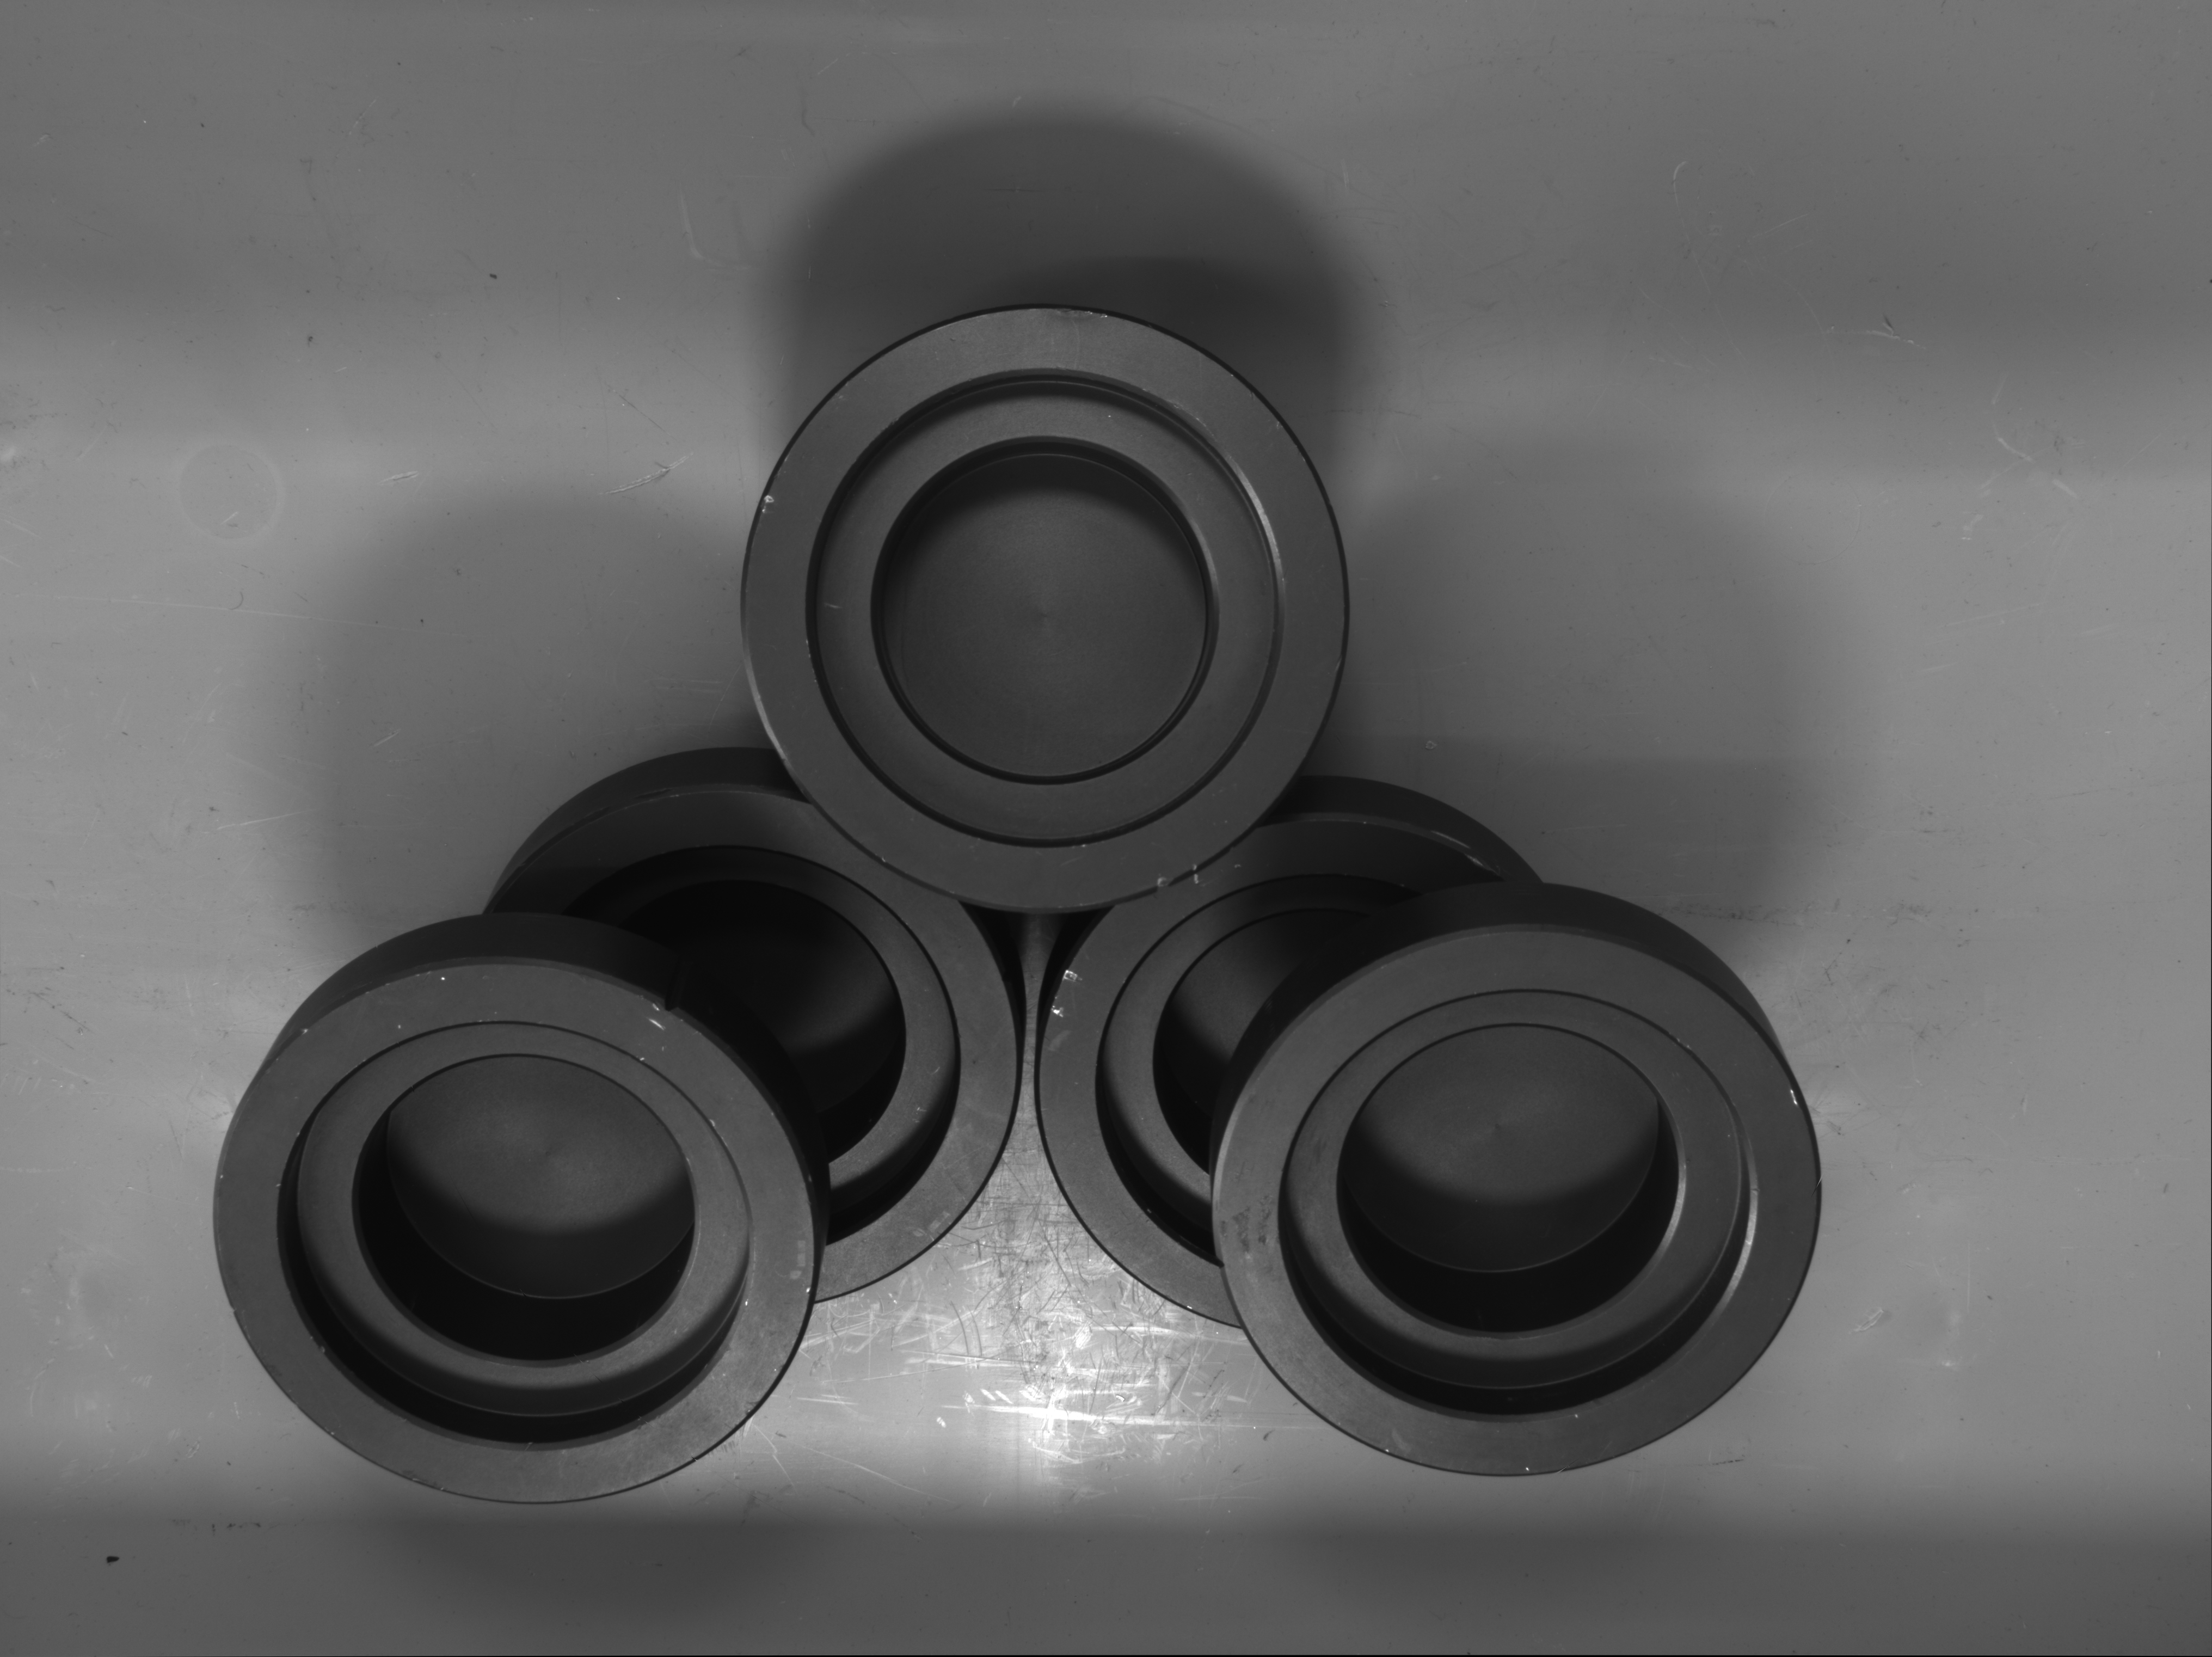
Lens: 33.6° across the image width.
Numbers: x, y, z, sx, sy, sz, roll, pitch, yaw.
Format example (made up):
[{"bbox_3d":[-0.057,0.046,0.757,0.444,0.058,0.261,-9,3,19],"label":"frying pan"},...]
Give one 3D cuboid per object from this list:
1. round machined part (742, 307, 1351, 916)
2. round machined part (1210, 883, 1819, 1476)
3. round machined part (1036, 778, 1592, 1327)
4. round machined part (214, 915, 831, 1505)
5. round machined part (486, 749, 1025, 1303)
[{"bbox_3d":[-0.010,-0.035,0.610,0.098,0.042,0.098,0,92,-1],"label":"round machined part"},{"bbox_3d":[0.066,0.054,0.609,0.098,0.042,0.098,0,110,0],"label":"round machined part"},{"bbox_3d":[0.037,0.037,0.647,0.098,0.042,0.098,0,110,0],"label":"round machined part"},{"bbox_3d":[-0.095,0.060,0.610,0.098,0.042,0.098,0,110,0],"label":"round machined part"},{"bbox_3d":[-0.063,0.032,0.645,0.098,0.042,0.098,0,110,0],"label":"round machined part"}]
